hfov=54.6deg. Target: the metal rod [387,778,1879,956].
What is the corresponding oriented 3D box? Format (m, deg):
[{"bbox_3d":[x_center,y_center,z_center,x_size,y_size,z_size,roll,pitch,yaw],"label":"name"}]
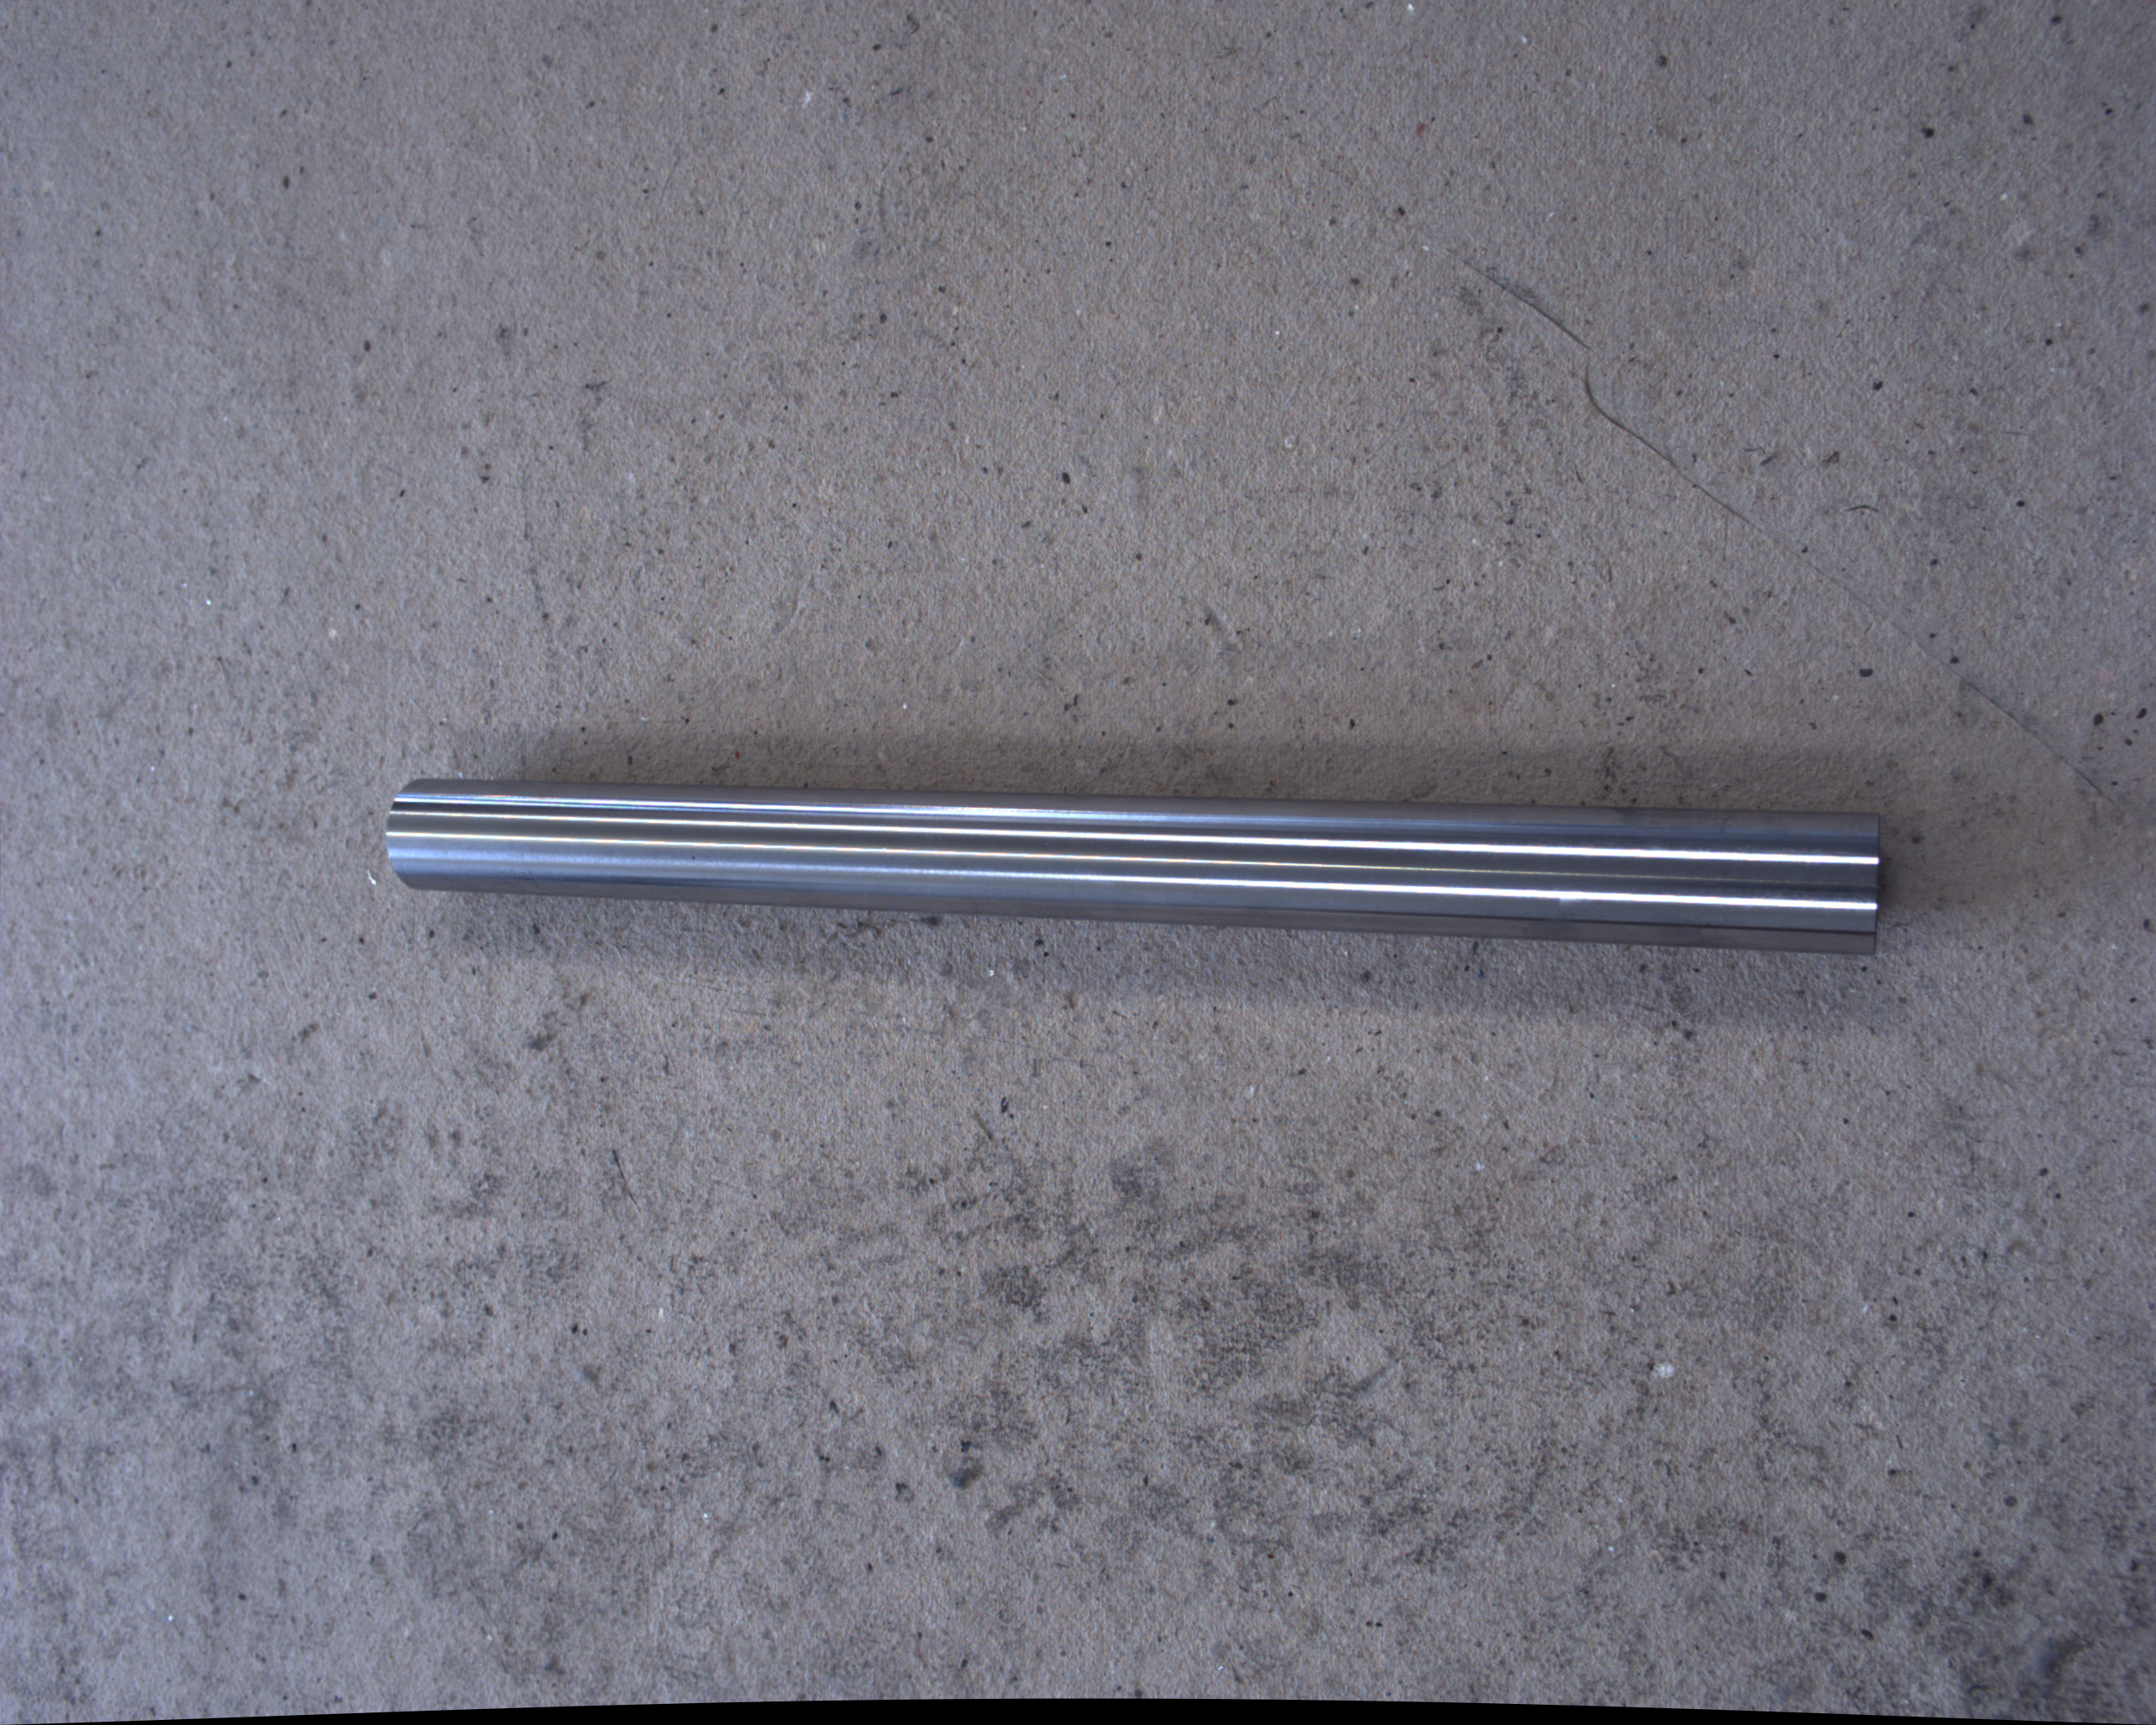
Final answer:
[{"bbox_3d":[-0.003,-0.001,0.412,0.301,0.025,0.025,2,91,20],"label":"metal rod"}]
